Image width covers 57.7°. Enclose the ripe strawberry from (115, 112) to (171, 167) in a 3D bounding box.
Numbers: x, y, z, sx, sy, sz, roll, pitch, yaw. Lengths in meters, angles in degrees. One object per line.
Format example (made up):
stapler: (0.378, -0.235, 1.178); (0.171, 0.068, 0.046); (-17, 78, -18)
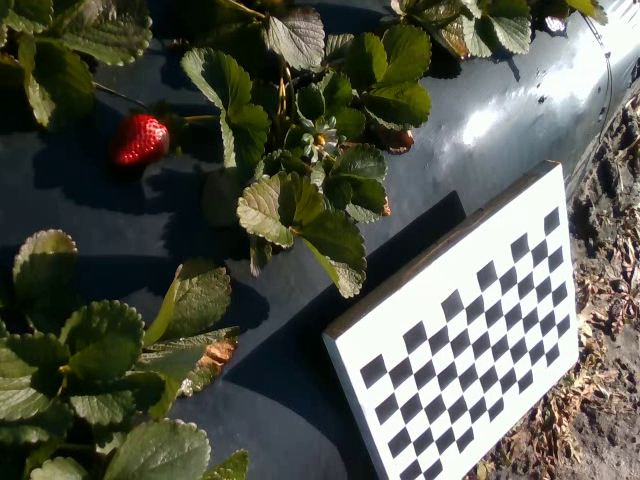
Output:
ripe strawberry: (-0.129, -0.070, 0.413); (0.044, 0.042, 0.056); (7, 48, 35)
